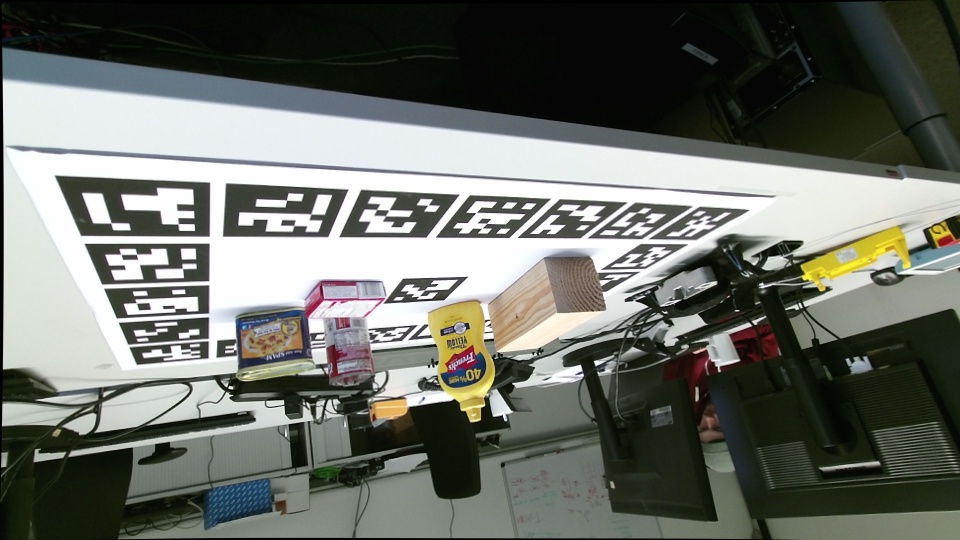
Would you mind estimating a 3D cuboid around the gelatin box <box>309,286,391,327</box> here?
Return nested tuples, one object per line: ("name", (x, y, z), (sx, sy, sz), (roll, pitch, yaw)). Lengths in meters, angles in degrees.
("gelatin box", (-0.179, 0.050, 0.735), (0.090, 0.030, 0.073), (2, 152, -39))

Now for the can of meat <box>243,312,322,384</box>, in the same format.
("can of meat", (-0.282, 0.111, 0.766), (0.102, 0.083, 0.058), (-5, 156, -14))

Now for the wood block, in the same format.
("wood block", (0.102, 0.070, 0.877), (0.091, 0.089, 0.206), (1, 158, -28))

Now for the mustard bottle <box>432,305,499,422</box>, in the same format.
("mustard bottle", (-0.019, 0.158, 0.898), (0.096, 0.190, 0.058), (-11, 159, -4))

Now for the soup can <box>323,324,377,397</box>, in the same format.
("soup can", (-0.201, 0.136, 0.823), (0.068, 0.101, 0.068), (-13, 157, -5))
